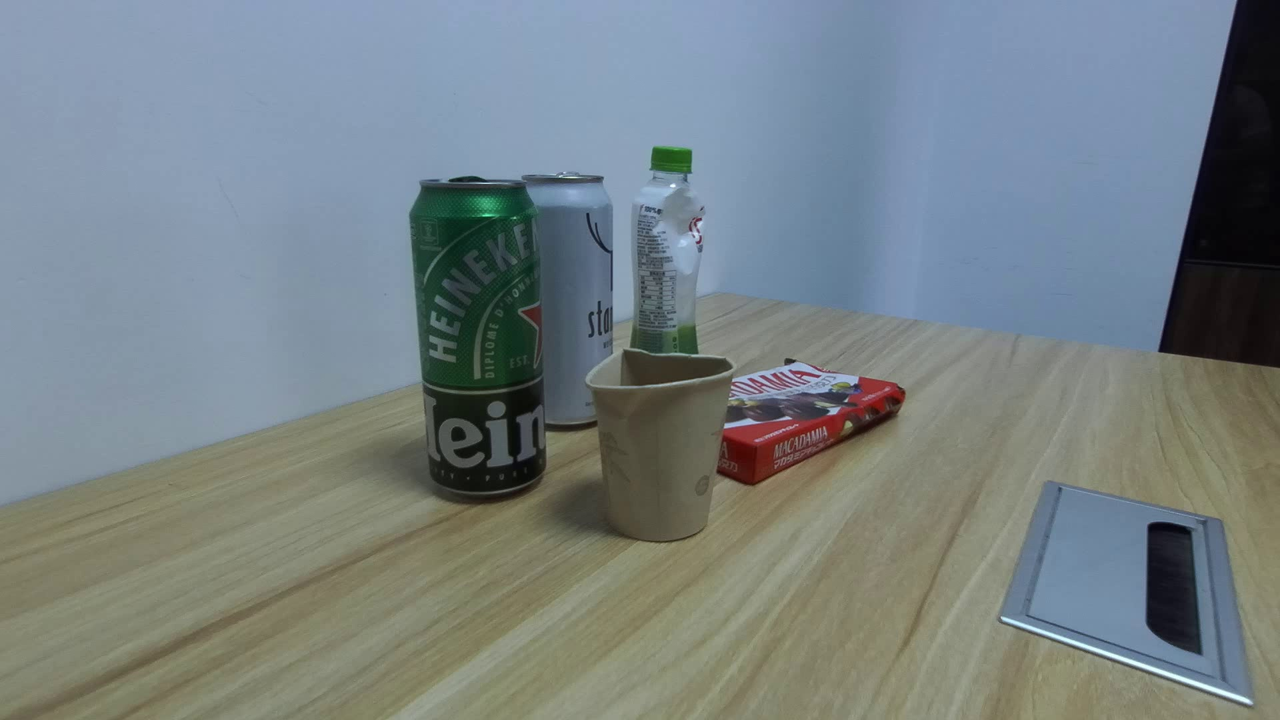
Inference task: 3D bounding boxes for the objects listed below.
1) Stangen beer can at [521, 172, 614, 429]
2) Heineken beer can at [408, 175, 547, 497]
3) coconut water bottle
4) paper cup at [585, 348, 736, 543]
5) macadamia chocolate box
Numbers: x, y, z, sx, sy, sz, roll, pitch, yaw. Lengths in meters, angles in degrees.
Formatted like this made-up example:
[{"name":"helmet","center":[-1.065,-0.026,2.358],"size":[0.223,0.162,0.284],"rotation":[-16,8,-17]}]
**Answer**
[{"name":"Stangen beer can","center":[-0.050,-0.040,0.492],"size":[0.067,0.171,0.067],"rotation":[0,14,0]},{"name":"Heineken beer can","center":[-0.087,-0.011,0.389],"size":[0.067,0.169,0.067],"rotation":[0,15,0]},{"name":"coconut water bottle","center":[0.021,-0.070,0.555],"size":[0.069,0.187,0.069],"rotation":[2,13,0]},{"name":"paper cup","center":[0.010,0.043,0.354],"size":[0.071,0.084,0.066],"rotation":[3,17,12]},{"name":"macadamia chocolate box","center":[0.098,0.035,0.492],"size":[0.105,0.028,0.184],"rotation":[15,21,42]}]
